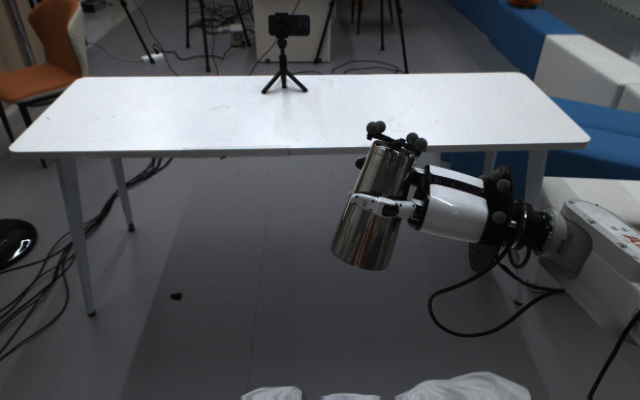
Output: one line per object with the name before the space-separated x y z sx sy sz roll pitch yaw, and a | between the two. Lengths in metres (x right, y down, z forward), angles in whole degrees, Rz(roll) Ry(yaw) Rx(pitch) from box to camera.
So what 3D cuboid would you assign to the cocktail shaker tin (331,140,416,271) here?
cocktail shaker tin | 0.082 0.004 0.700 0.093 0.170 0.093 15 17 -5
